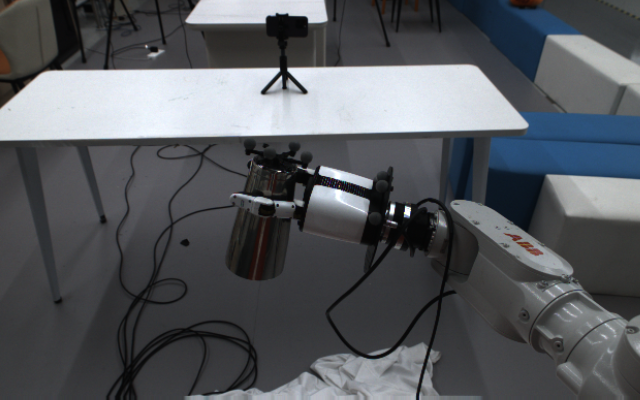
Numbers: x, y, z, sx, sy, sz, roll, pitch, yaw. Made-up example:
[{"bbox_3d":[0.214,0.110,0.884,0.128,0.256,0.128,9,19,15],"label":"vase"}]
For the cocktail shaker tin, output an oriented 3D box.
[{"bbox_3d":[-0.079,0.020,0.713,0.093,0.170,0.093,12,25,-6],"label":"cocktail shaker tin"}]
